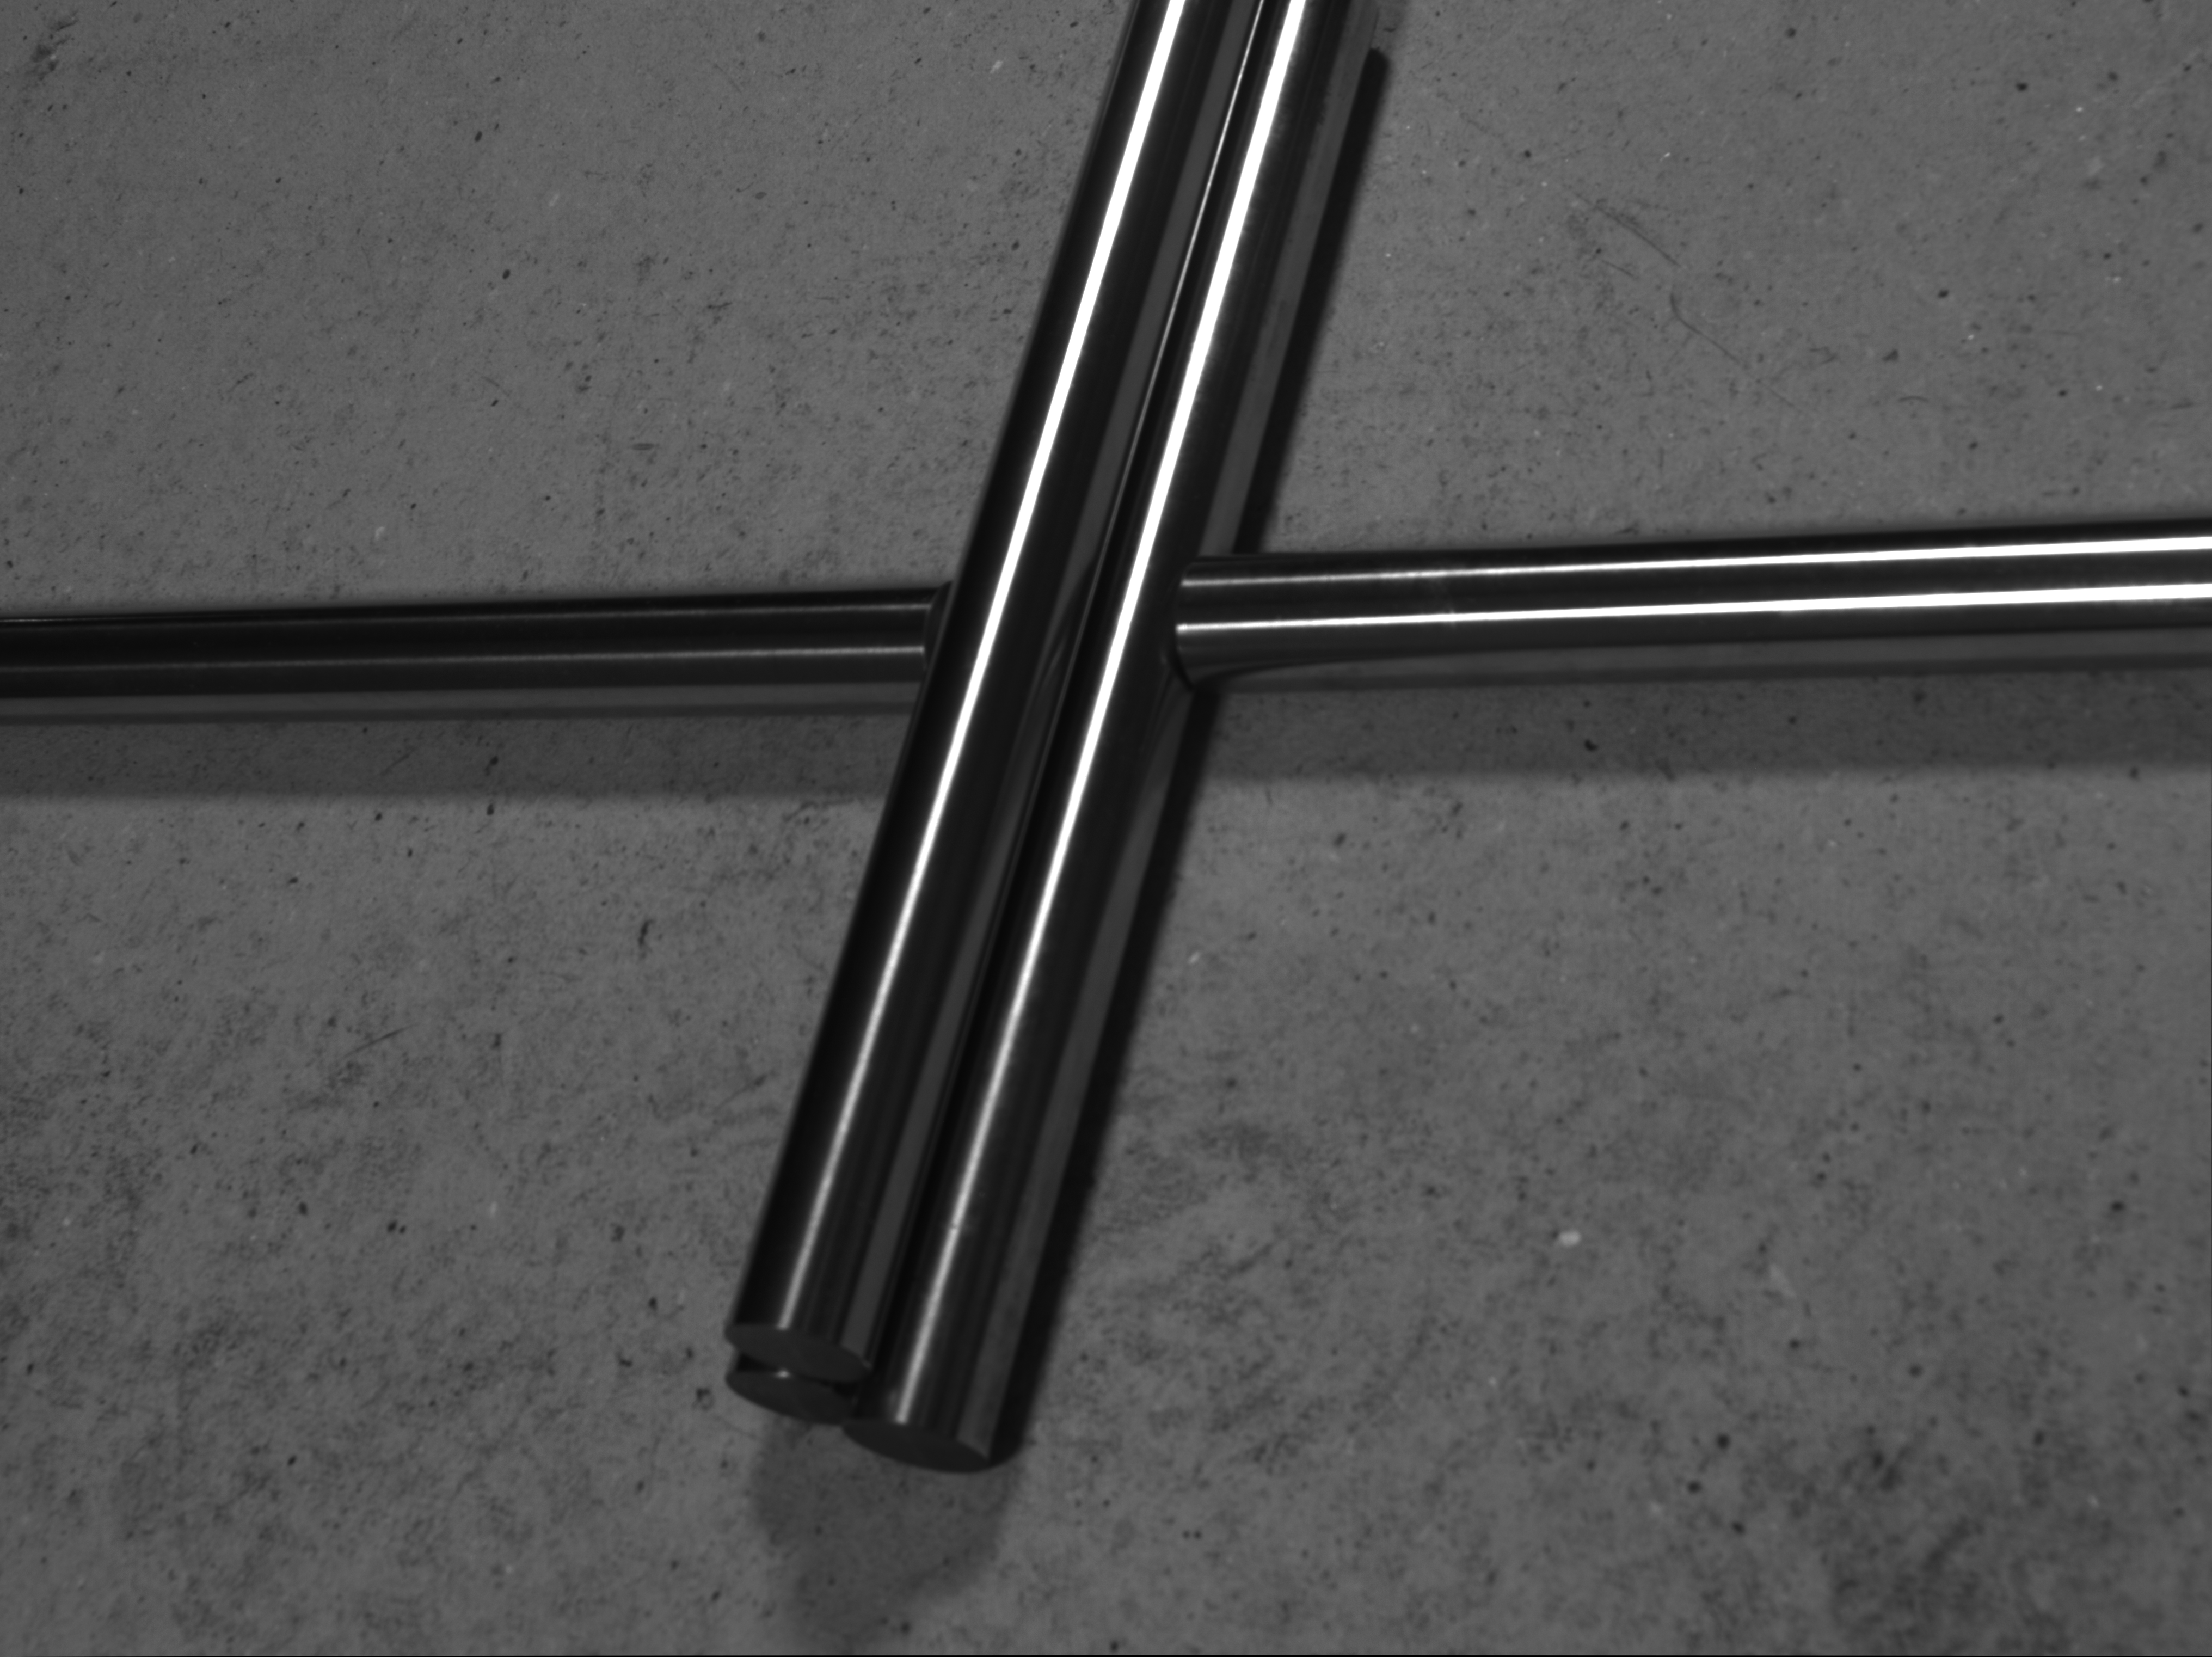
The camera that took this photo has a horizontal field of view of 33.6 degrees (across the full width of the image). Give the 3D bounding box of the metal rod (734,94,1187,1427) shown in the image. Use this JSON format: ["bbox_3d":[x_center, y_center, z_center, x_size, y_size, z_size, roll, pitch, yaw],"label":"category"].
[{"bbox_3d":[-0.013,-0.036,0.675,0.025,0.025,0.300,1,62,29],"label":"metal rod"}]

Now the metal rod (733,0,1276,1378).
[{"bbox_3d":[-0.012,-0.047,0.654,0.025,0.025,0.300,1,62,29],"label":"metal rod"}]

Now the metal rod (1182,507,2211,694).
[{"bbox_3d":[0.151,-0.038,0.586,0.299,0.025,0.025,-1,61,28],"label":"metal rod"}]

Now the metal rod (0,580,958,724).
[{"bbox_3d":[-0.157,-0.034,0.750,0.299,0.025,0.025,0,62,28],"label":"metal rod"}]

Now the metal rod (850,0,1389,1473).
[{"bbox_3d":[0.007,-0.031,0.661,0.025,0.025,0.300,1,62,29],"label":"metal rod"}]
